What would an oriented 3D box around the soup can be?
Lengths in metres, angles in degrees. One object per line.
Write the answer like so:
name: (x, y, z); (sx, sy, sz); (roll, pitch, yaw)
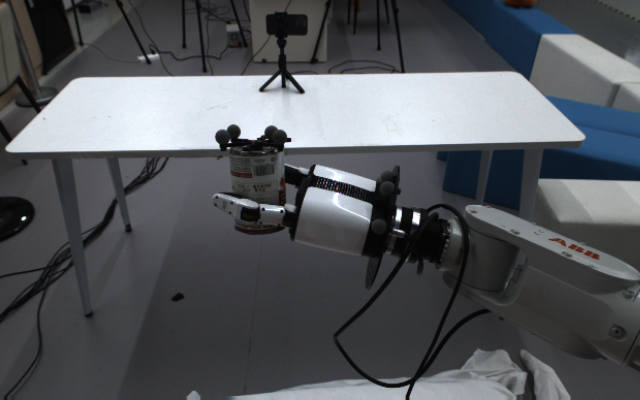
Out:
soup can: (-0.074, -0.015, 0.599); (0.067, 0.101, 0.067); (-1, 17, 0)
